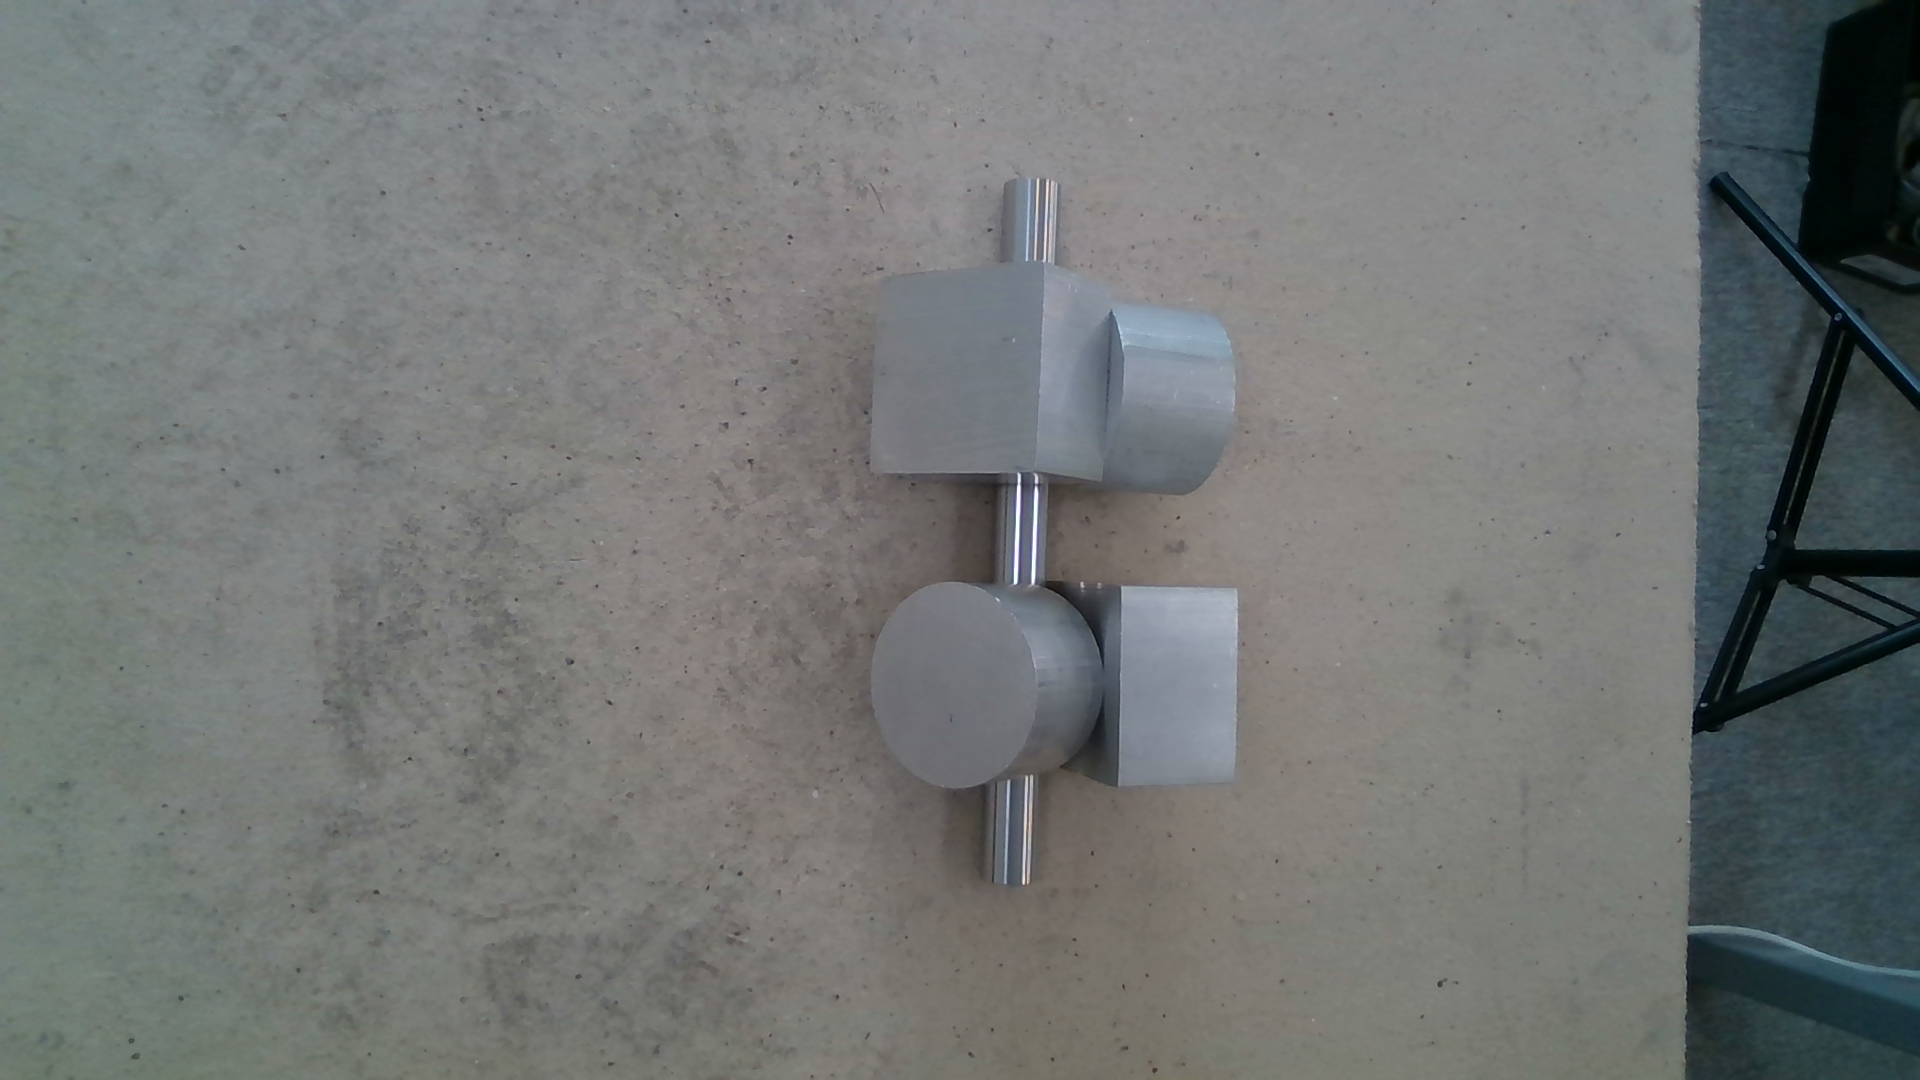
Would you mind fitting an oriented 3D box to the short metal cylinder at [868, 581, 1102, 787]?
[{"bbox_3d":[0.010,0.056,0.555,0.050,0.080,0.080,2,89,-55],"label":"short metal cylinder"}]

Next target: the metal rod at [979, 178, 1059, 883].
[{"bbox_3d":[0.025,-0.004,0.598,0.025,0.025,0.300,2,89,-20],"label":"metal rod"}]

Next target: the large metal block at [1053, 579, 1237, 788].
[{"bbox_3d":[0.074,0.058,0.584,0.050,0.080,0.080,1,90,-20],"label":"large metal block"}]

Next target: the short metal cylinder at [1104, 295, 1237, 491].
[{"bbox_3d":[0.074,-0.061,0.584,0.050,0.080,0.080,4,89,-20],"label":"short metal cylinder"}]

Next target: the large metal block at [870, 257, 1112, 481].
[{"bbox_3d":[0.012,-0.065,0.555,0.050,0.080,0.080,3,89,-55],"label":"large metal block"}]
